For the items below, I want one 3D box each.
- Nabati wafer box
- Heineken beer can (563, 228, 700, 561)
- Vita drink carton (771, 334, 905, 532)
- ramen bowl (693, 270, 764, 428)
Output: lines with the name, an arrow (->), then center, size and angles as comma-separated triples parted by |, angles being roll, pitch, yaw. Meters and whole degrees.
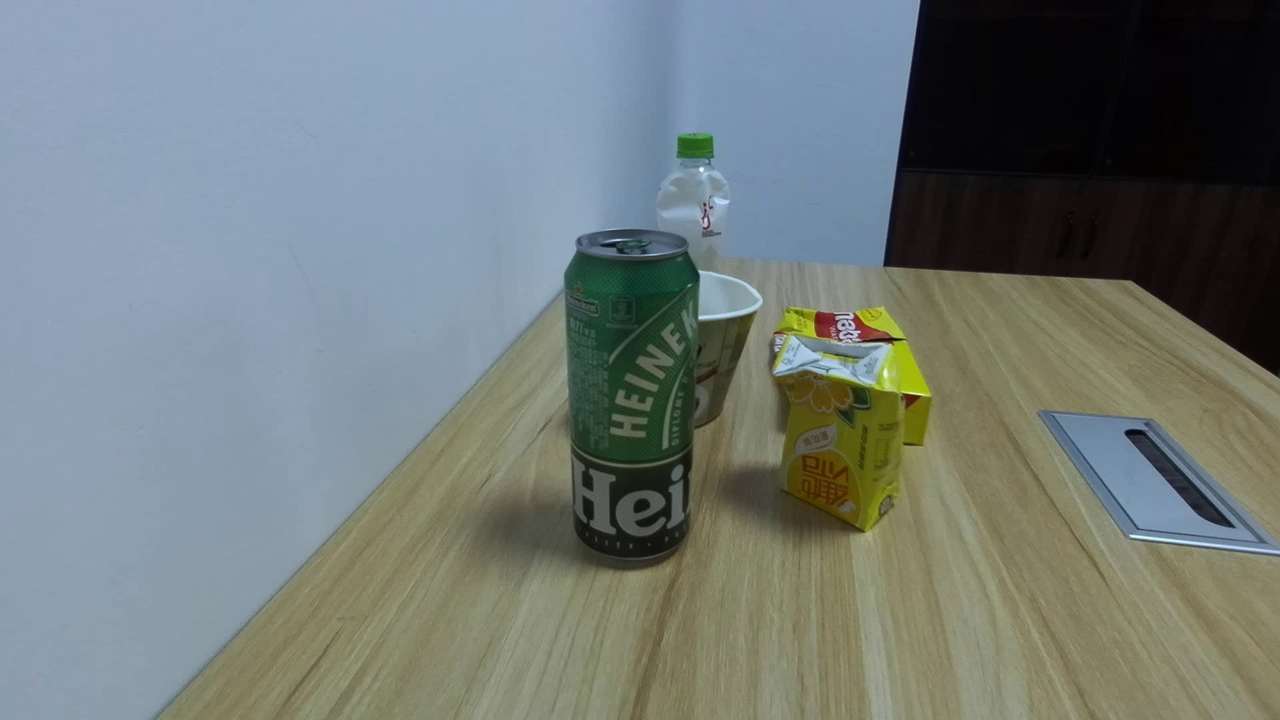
Nabati wafer box -> 0.167, 0.000, 0.590 | 0.107, 0.042, 0.204 | 5, 22, 7
Heineken beer can -> -0.004, 0.021, 0.371 | 0.067, 0.169, 0.067 | 1, 24, 0
Vita drink carton -> 0.113, 0.041, 0.411 | 0.086, 0.108, 0.042 | 18, 43, 43
ramen bowl -> 0.019, -0.009, 0.535 | 0.137, 0.098, 0.137 | -1, 26, 1
